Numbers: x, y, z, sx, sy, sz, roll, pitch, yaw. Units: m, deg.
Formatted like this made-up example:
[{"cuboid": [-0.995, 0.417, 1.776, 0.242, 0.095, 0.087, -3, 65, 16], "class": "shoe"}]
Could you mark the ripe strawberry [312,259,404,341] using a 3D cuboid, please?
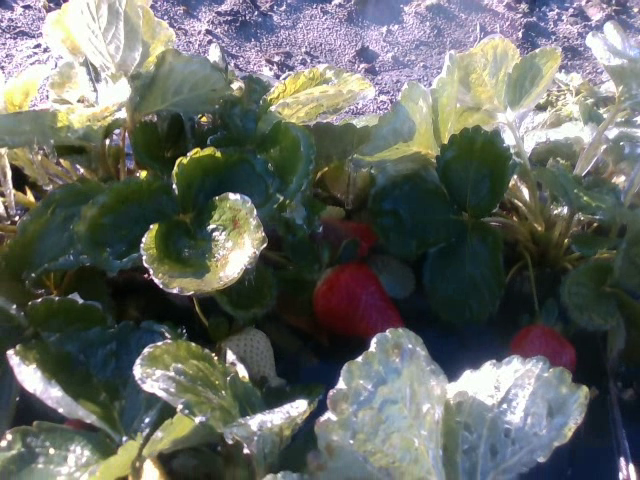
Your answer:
[{"cuboid": [0.024, 0.035, 0.320, 0.044, 0.056, 0.040, -41, -14, -28], "class": "ripe strawberry"}]

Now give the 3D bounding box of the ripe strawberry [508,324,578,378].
[{"cuboid": [0.113, 0.063, 0.306, 0.039, 0.040, 0.047, 32, 48, 7], "class": "ripe strawberry"}]
